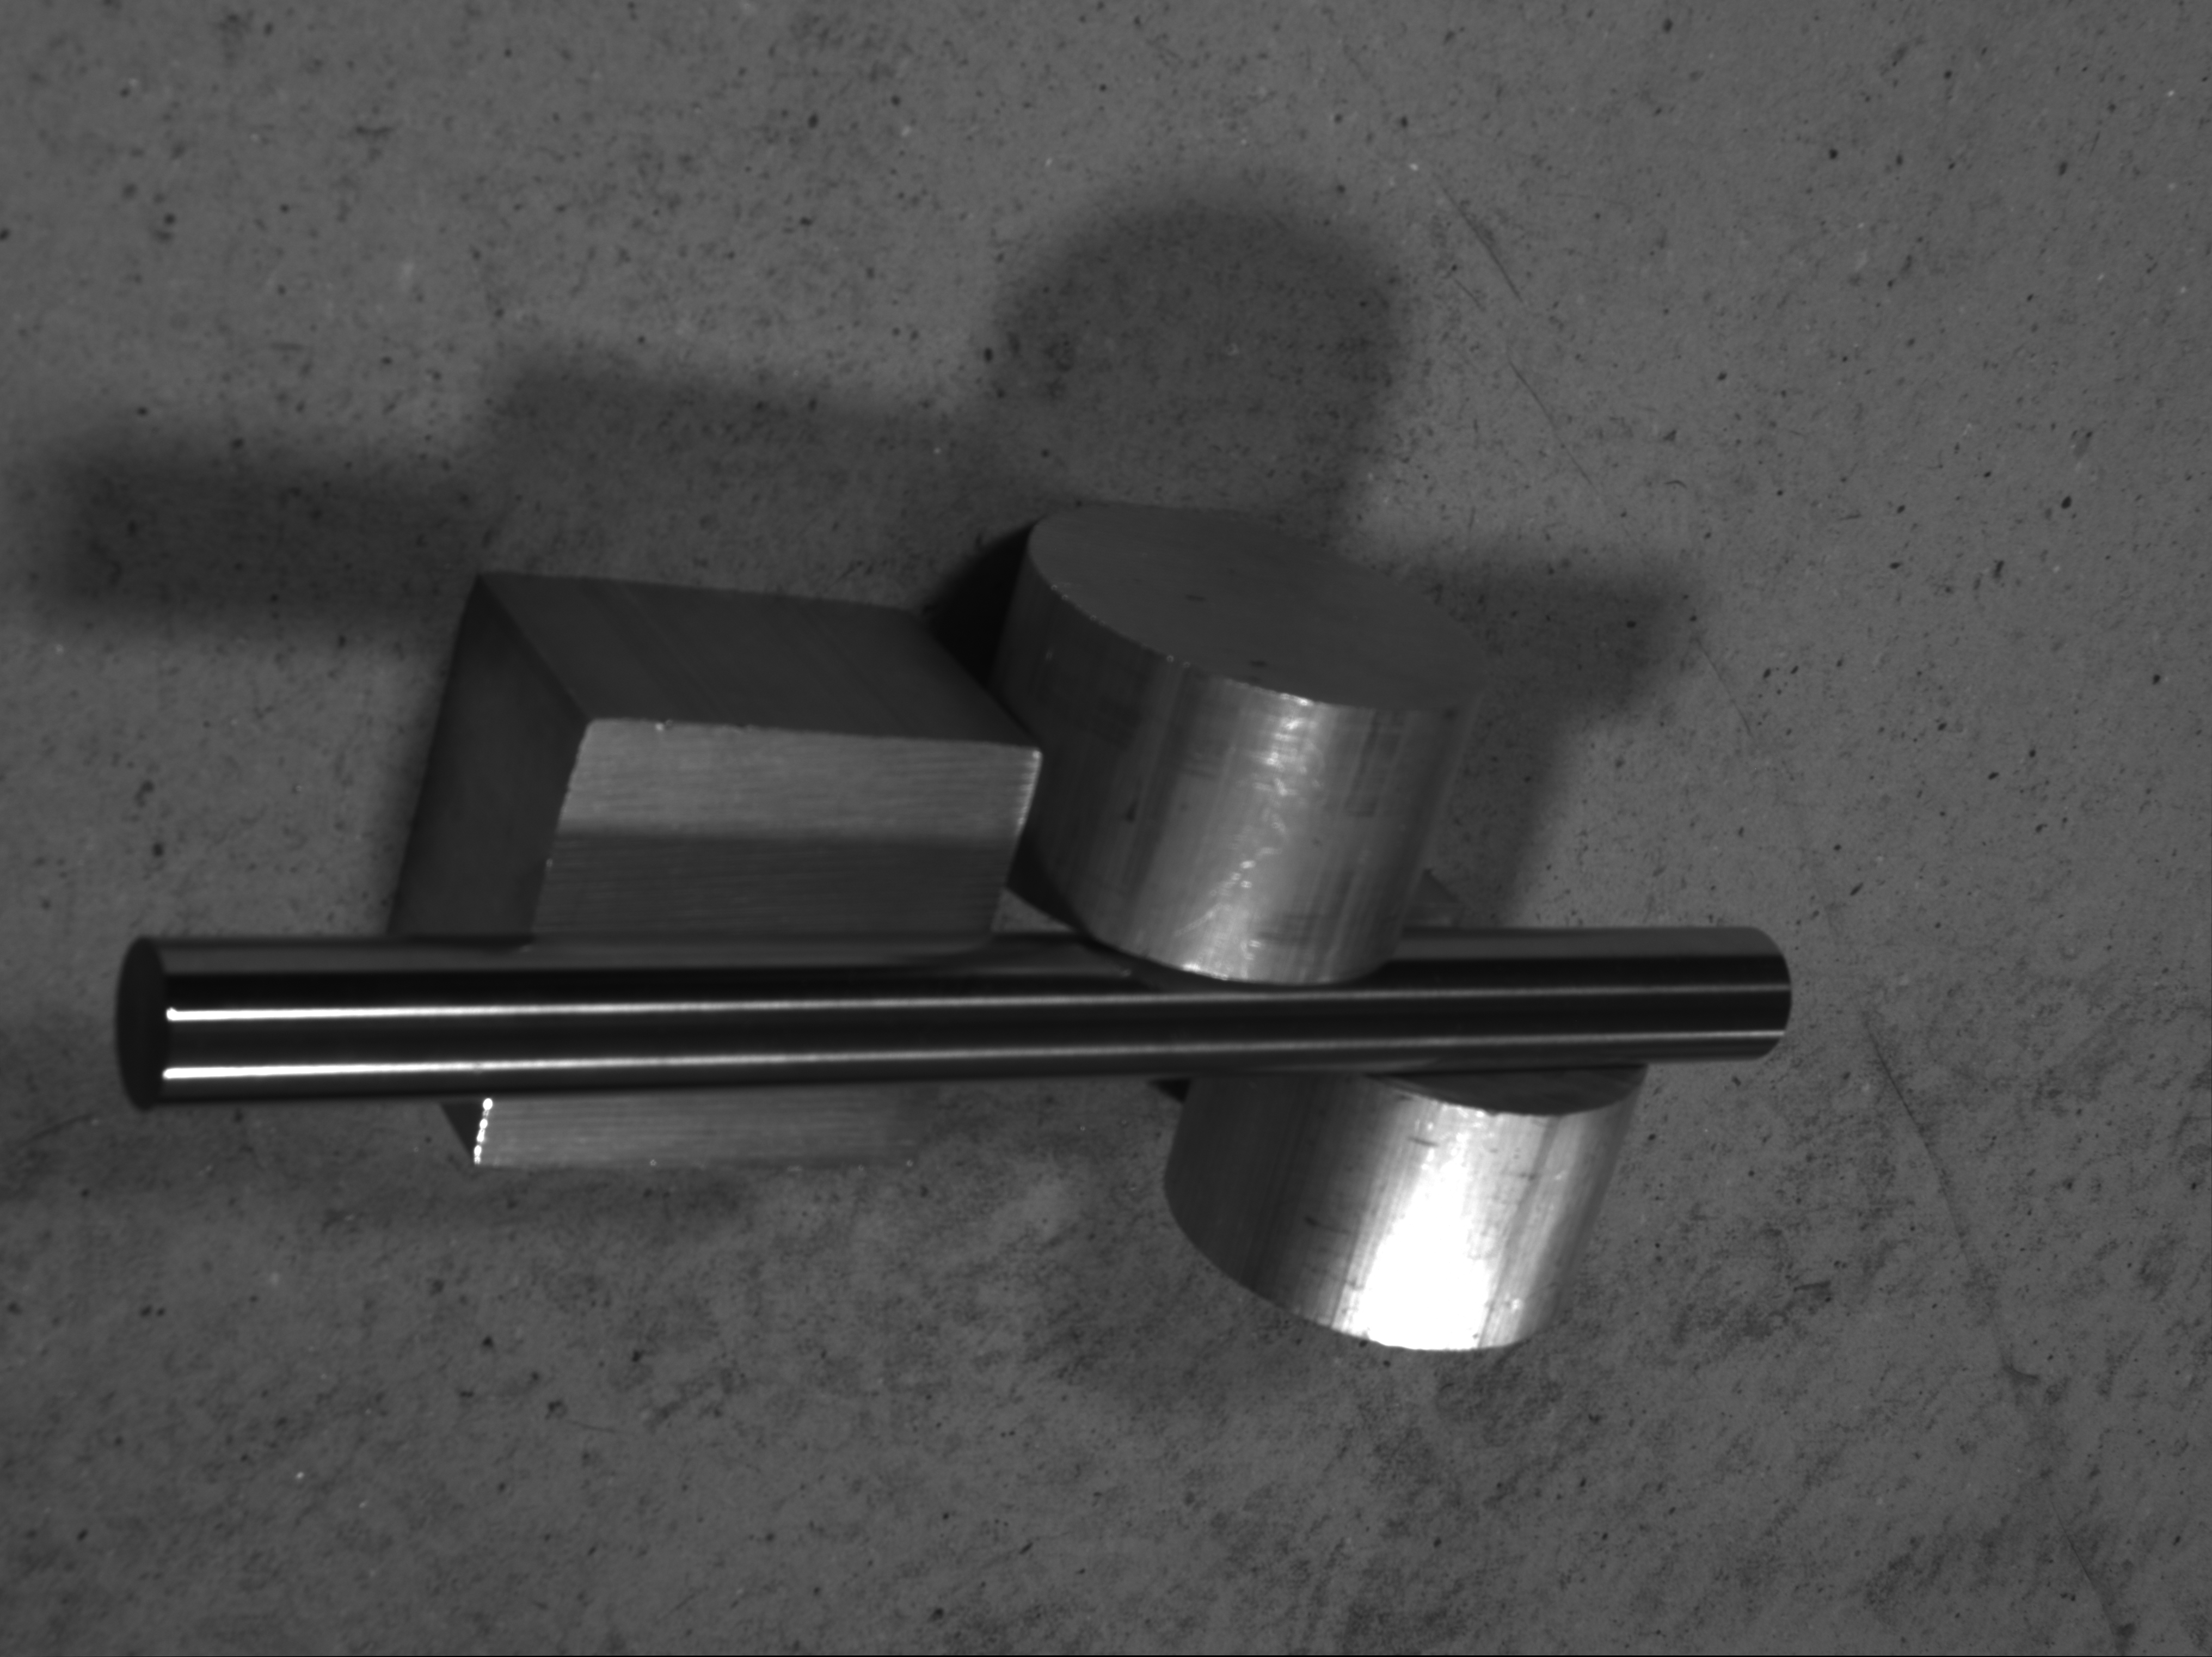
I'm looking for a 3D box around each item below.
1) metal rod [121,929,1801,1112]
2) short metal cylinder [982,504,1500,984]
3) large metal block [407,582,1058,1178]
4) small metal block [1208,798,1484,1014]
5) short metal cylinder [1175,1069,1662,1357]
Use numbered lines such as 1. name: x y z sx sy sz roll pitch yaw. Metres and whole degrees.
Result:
1. metal rod: -0.008 0.029 0.598 0.301 0.025 0.025 1 118 -32
2. short metal cylinder: 0.021 -0.015 0.619 0.080 0.080 0.050 2 117 -31
3. large metal block: -0.064 0.010 0.599 0.080 0.050 0.080 3 116 -32
4. small metal block: 0.031 0.014 0.660 0.050 0.050 0.025 1 118 -31
5. short metal cylinder: 0.058 0.054 0.682 0.080 0.080 0.050 0 118 -30
